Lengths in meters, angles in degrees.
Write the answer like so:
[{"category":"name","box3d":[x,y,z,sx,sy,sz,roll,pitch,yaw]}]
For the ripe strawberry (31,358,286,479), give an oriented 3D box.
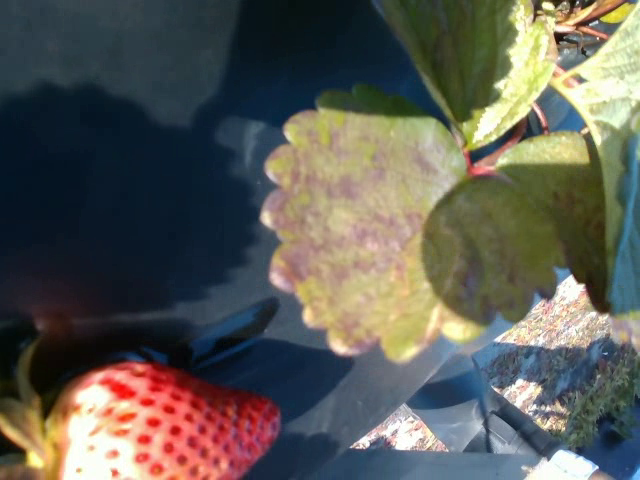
[{"category":"ripe strawberry","box3d":[-0.027,0.043,0.129,0.063,0.044,0.044,-10,-3,-37]}]
